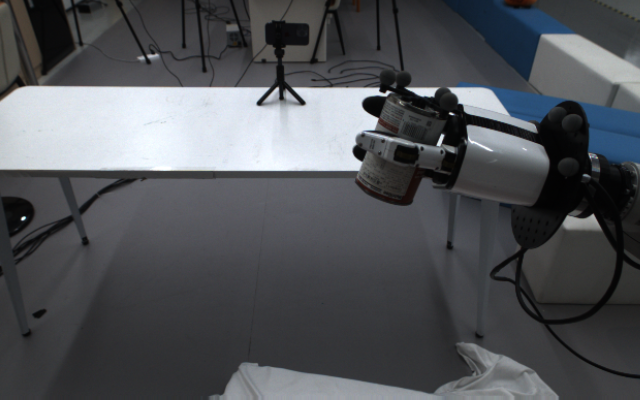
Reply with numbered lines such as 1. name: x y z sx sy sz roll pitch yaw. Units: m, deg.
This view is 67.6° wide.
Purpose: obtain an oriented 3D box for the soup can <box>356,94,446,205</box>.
1. soup can: 0.087 -0.055 0.518 0.067 0.101 0.067 16 21 -7
